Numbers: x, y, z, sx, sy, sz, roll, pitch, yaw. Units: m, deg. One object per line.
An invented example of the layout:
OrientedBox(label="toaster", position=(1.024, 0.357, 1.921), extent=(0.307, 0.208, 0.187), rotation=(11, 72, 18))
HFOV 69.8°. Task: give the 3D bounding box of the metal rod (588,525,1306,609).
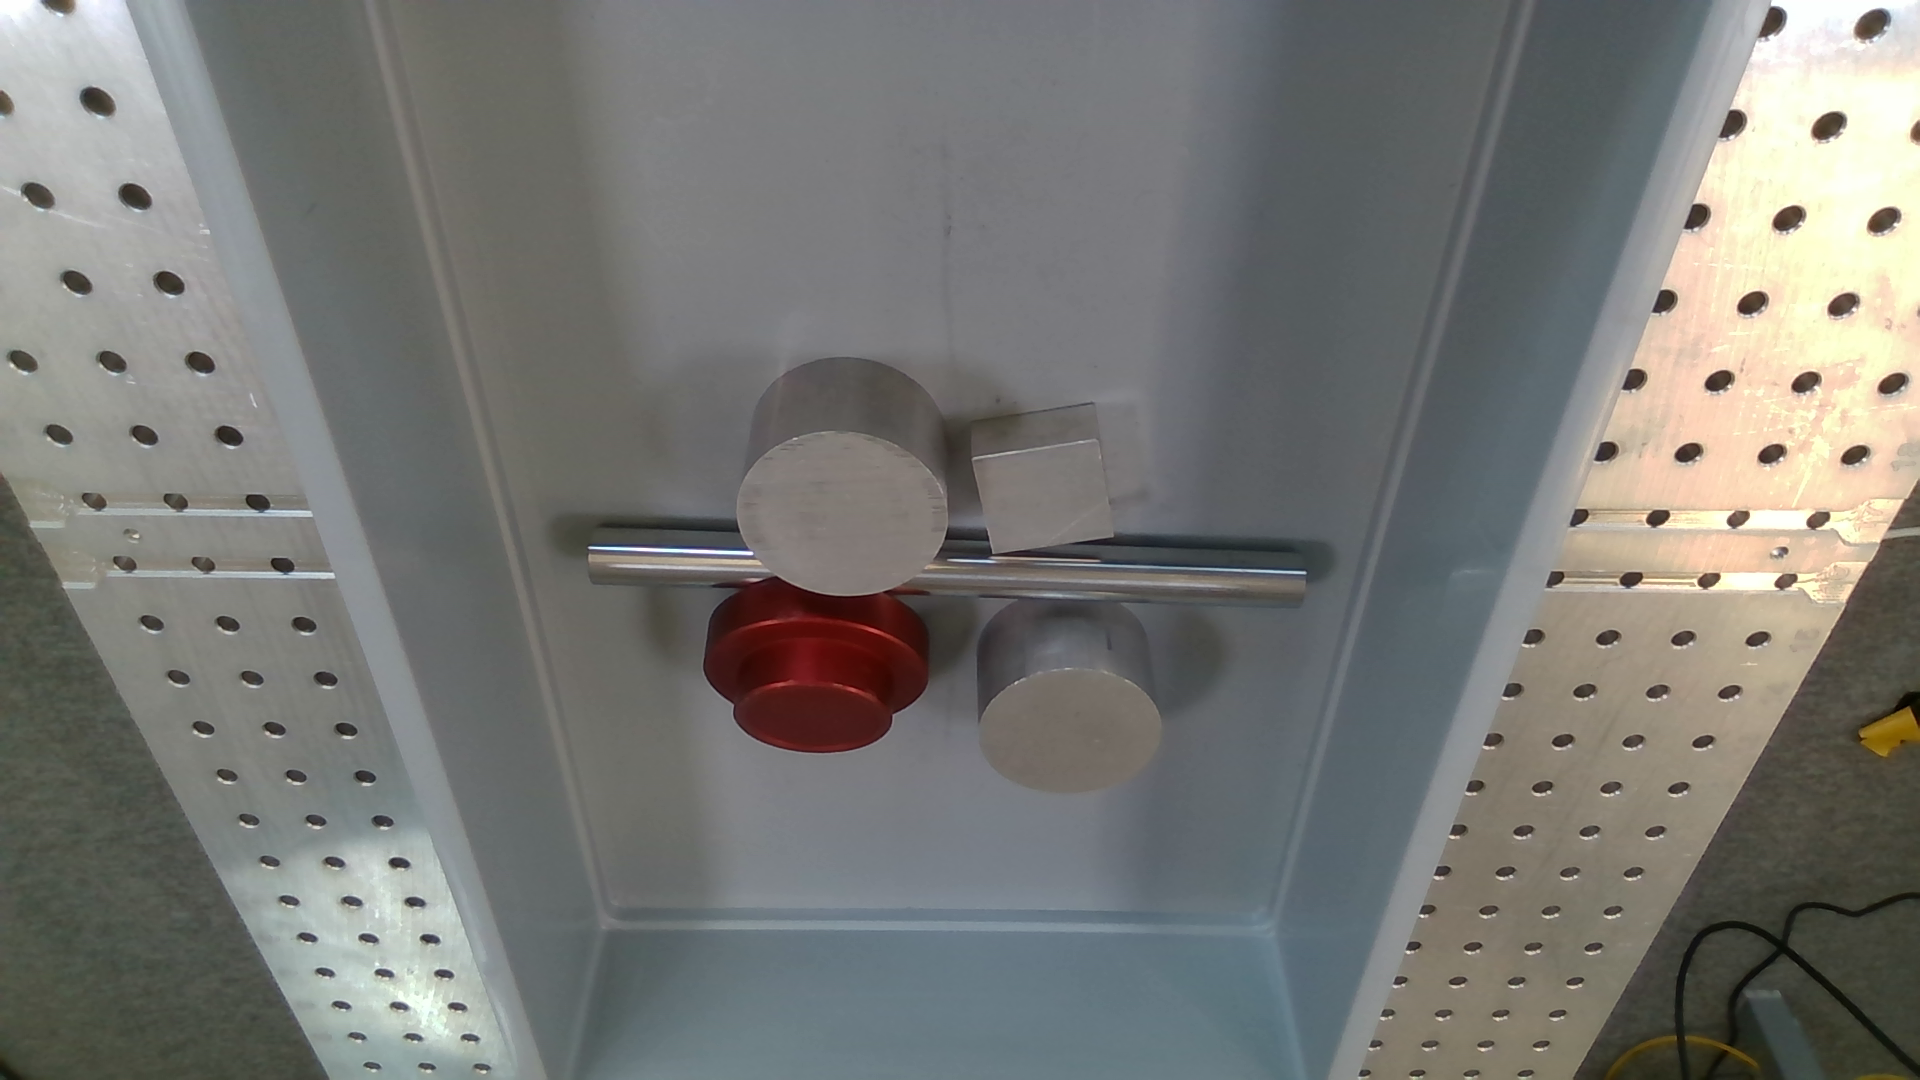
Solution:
OrientedBox(label="metal rod", position=(-0.005, 0.012, 0.587), extent=(0.300, 0.025, 0.025), rotation=(2, 130, -2))

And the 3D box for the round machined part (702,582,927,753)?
OrientedBox(label="round machined part", position=(-0.063, 0.059, 0.601), extent=(0.098, 0.042, 0.098), rotation=(0, 146, 0))

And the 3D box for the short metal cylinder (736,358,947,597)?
OrientedBox(label="short metal cylinder", position=(-0.045, -0.024, 0.541), extent=(0.080, 0.050, 0.080), rotation=(0, 130, 0))

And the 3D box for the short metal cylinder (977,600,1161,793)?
OrientedBox(label="short metal cylinder", position=(0.048, 0.068, 0.619), extent=(0.080, 0.050, 0.080), rotation=(0, 130, 0))

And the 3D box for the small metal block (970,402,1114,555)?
OrientedBox(label="small metal block", position=(0.033, -0.024, 0.557), extent=(0.050, 0.025, 0.050), rotation=(-9, 130, 7))
